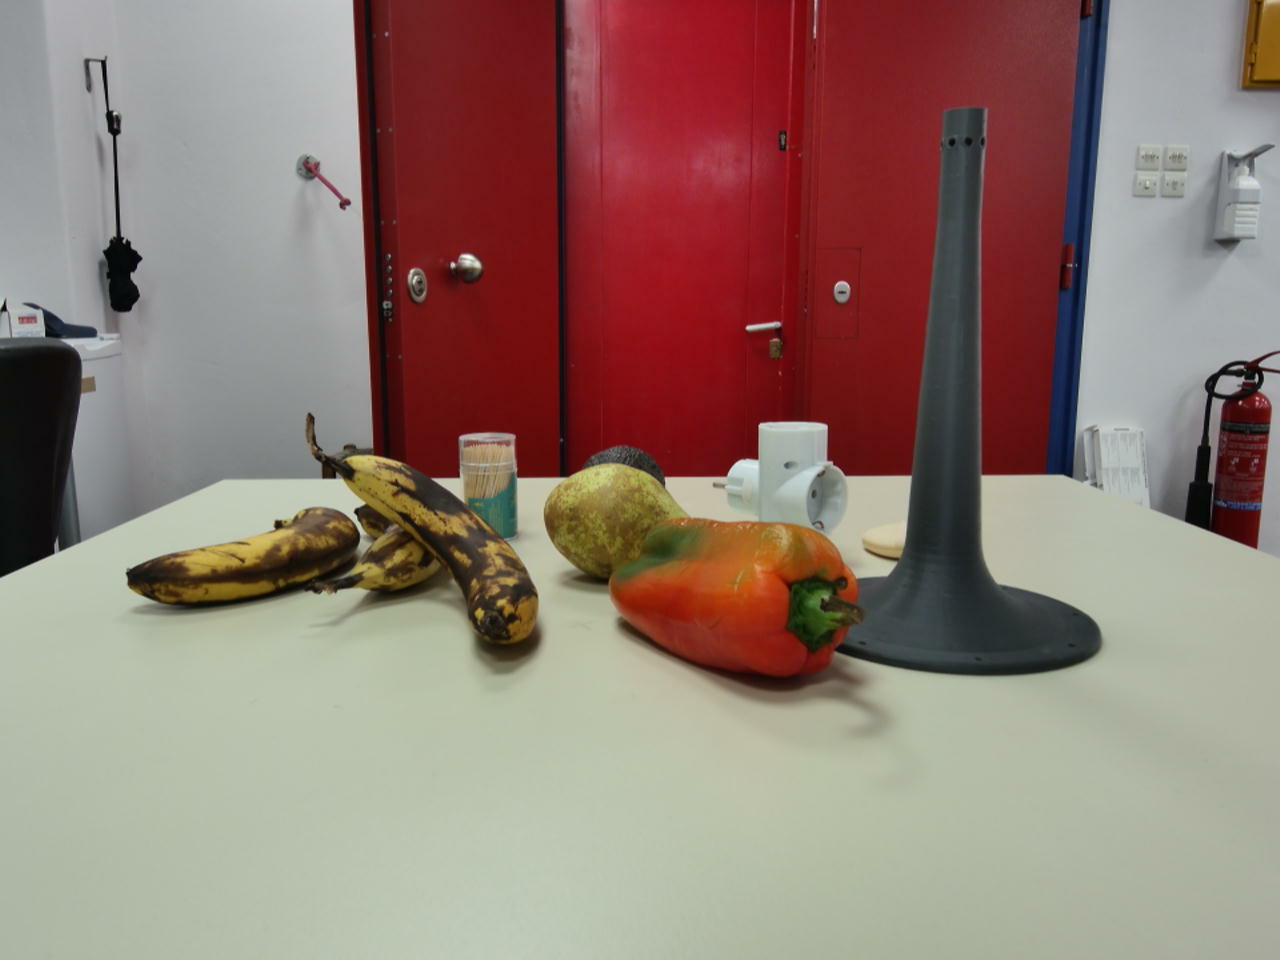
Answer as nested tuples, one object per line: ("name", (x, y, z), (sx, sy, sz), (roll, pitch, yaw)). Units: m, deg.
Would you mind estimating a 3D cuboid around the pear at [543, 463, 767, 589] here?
("pear", (0.006, 0.025, 0.617), (0.128, 0.075, 0.071), (-3, 8, -9))
